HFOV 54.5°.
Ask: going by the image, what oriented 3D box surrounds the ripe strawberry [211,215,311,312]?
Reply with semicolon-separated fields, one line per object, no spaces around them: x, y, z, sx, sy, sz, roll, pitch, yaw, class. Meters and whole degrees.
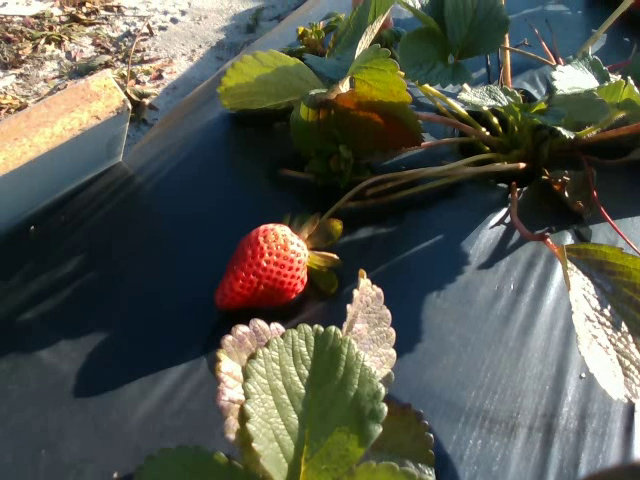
-0.029;0.014;0.274;0.063;0.044;0.044;-42;10;-39;ripe strawberry
